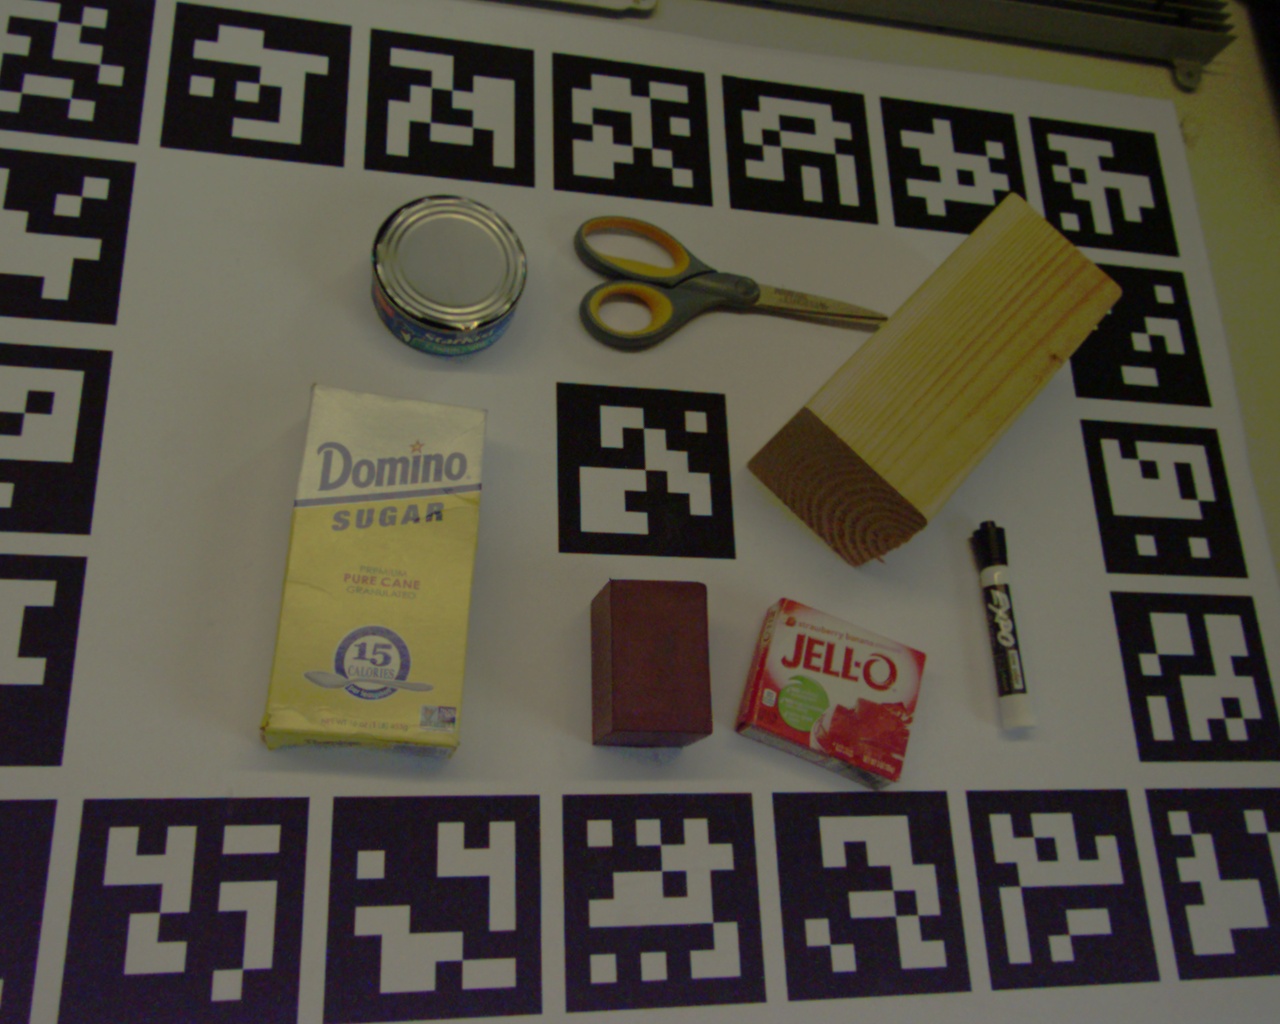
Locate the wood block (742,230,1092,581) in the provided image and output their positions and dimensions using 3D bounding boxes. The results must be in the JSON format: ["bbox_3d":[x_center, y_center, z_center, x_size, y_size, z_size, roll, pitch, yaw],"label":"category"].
[{"bbox_3d":[0.172,-0.066,0.706,0.090,0.091,0.205,44,68,3],"label":"wood block"}]

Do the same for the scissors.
[{"bbox_3d":[0.049,-0.123,0.732,0.202,0.016,0.088,10,71,-8],"label":"scissors"}]

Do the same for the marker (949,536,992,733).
[{"bbox_3d":[0.203,0.074,0.702,0.019,0.020,0.121,5,74,-12],"label":"marker"}]

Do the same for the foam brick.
[{"bbox_3d":[0.002,0.087,0.632,0.052,0.051,0.078,5,73,-12],"label":"foam brick"}]

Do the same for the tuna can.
[{"bbox_3d":[-0.116,-0.128,0.682,0.085,0.034,0.086,3,73,-12],"label":"tuna can"}]

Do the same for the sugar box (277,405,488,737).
[{"bbox_3d":[-0.138,0.032,0.625,0.092,0.045,0.177,8,71,-12],"label":"sugar box"}]

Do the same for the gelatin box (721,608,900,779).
[{"bbox_3d":[0.099,0.106,0.664,0.089,0.030,0.073,21,70,-6],"label":"gelatin box"}]
